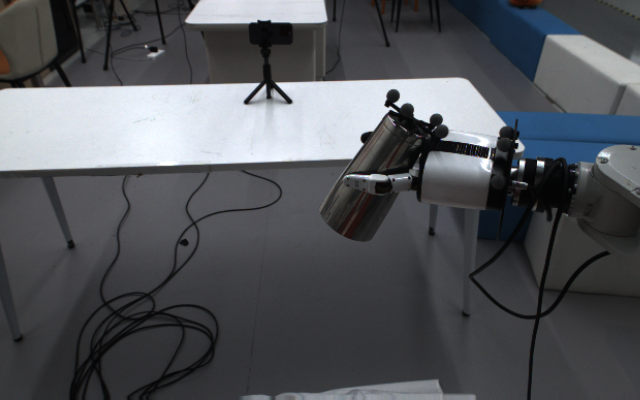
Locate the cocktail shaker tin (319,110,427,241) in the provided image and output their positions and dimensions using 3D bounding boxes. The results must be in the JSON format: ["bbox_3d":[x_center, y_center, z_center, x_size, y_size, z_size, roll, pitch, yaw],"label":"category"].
[{"bbox_3d":[0.079,-0.040,0.682,0.093,0.170,0.093,25,29,-15],"label":"cocktail shaker tin"}]
